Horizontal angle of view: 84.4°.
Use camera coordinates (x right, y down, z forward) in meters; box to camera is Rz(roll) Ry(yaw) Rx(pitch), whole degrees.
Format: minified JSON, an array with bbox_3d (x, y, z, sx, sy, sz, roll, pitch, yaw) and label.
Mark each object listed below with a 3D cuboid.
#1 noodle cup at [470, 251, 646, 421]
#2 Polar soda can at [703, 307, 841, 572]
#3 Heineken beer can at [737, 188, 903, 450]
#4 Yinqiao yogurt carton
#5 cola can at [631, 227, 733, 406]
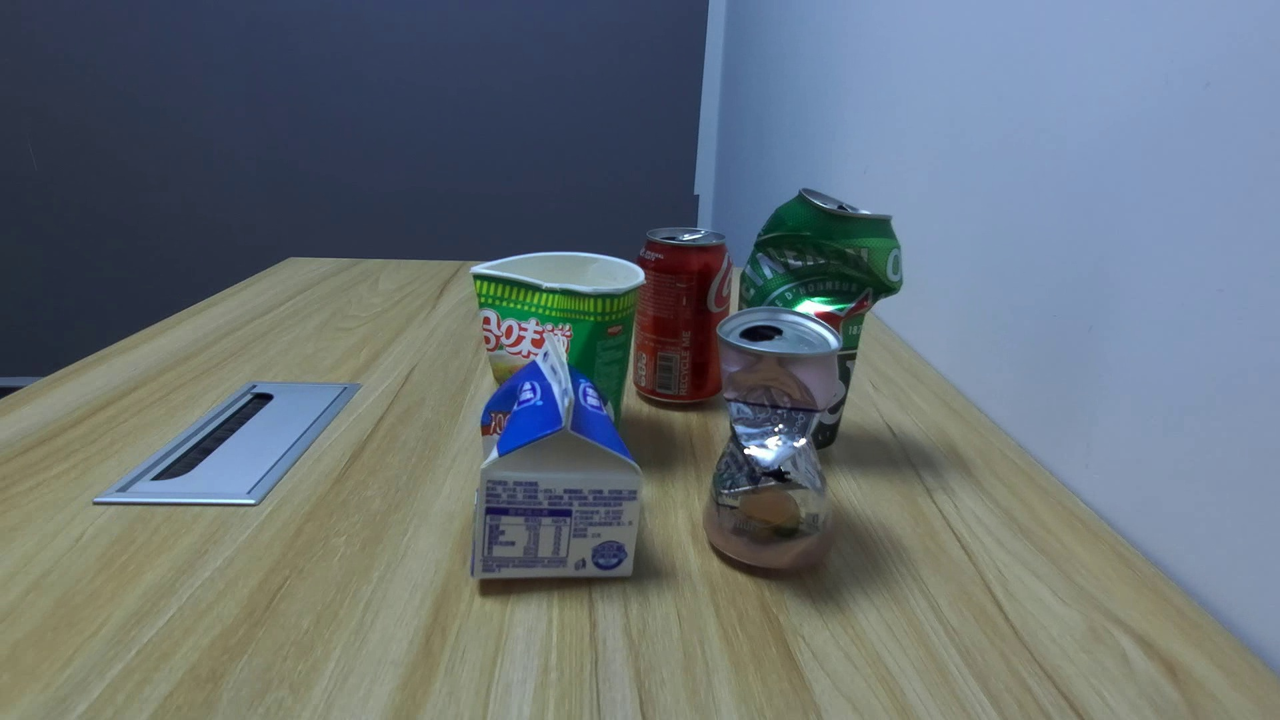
[{"bbox_3d":[-0.042,-0.002,0.427,0.087,0.109,0.093,-17,28,-40],"label":"noodle cup"},{"bbox_3d":[0.065,0.044,0.335,0.070,0.114,0.074,-9,14,-30],"label":"Polar soda can"},{"bbox_3d":[0.095,-0.017,0.417,0.079,0.159,0.067,6,24,-5],"label":"Heineken beer can"},{"bbox_3d":[-0.039,0.045,0.339,0.071,0.094,0.077,3,20,-12],"label":"Yinqiao yogurt carton"},{"bbox_3d":[0.030,-0.026,0.496,0.068,0.120,0.068,2,9,0],"label":"cola can"}]
